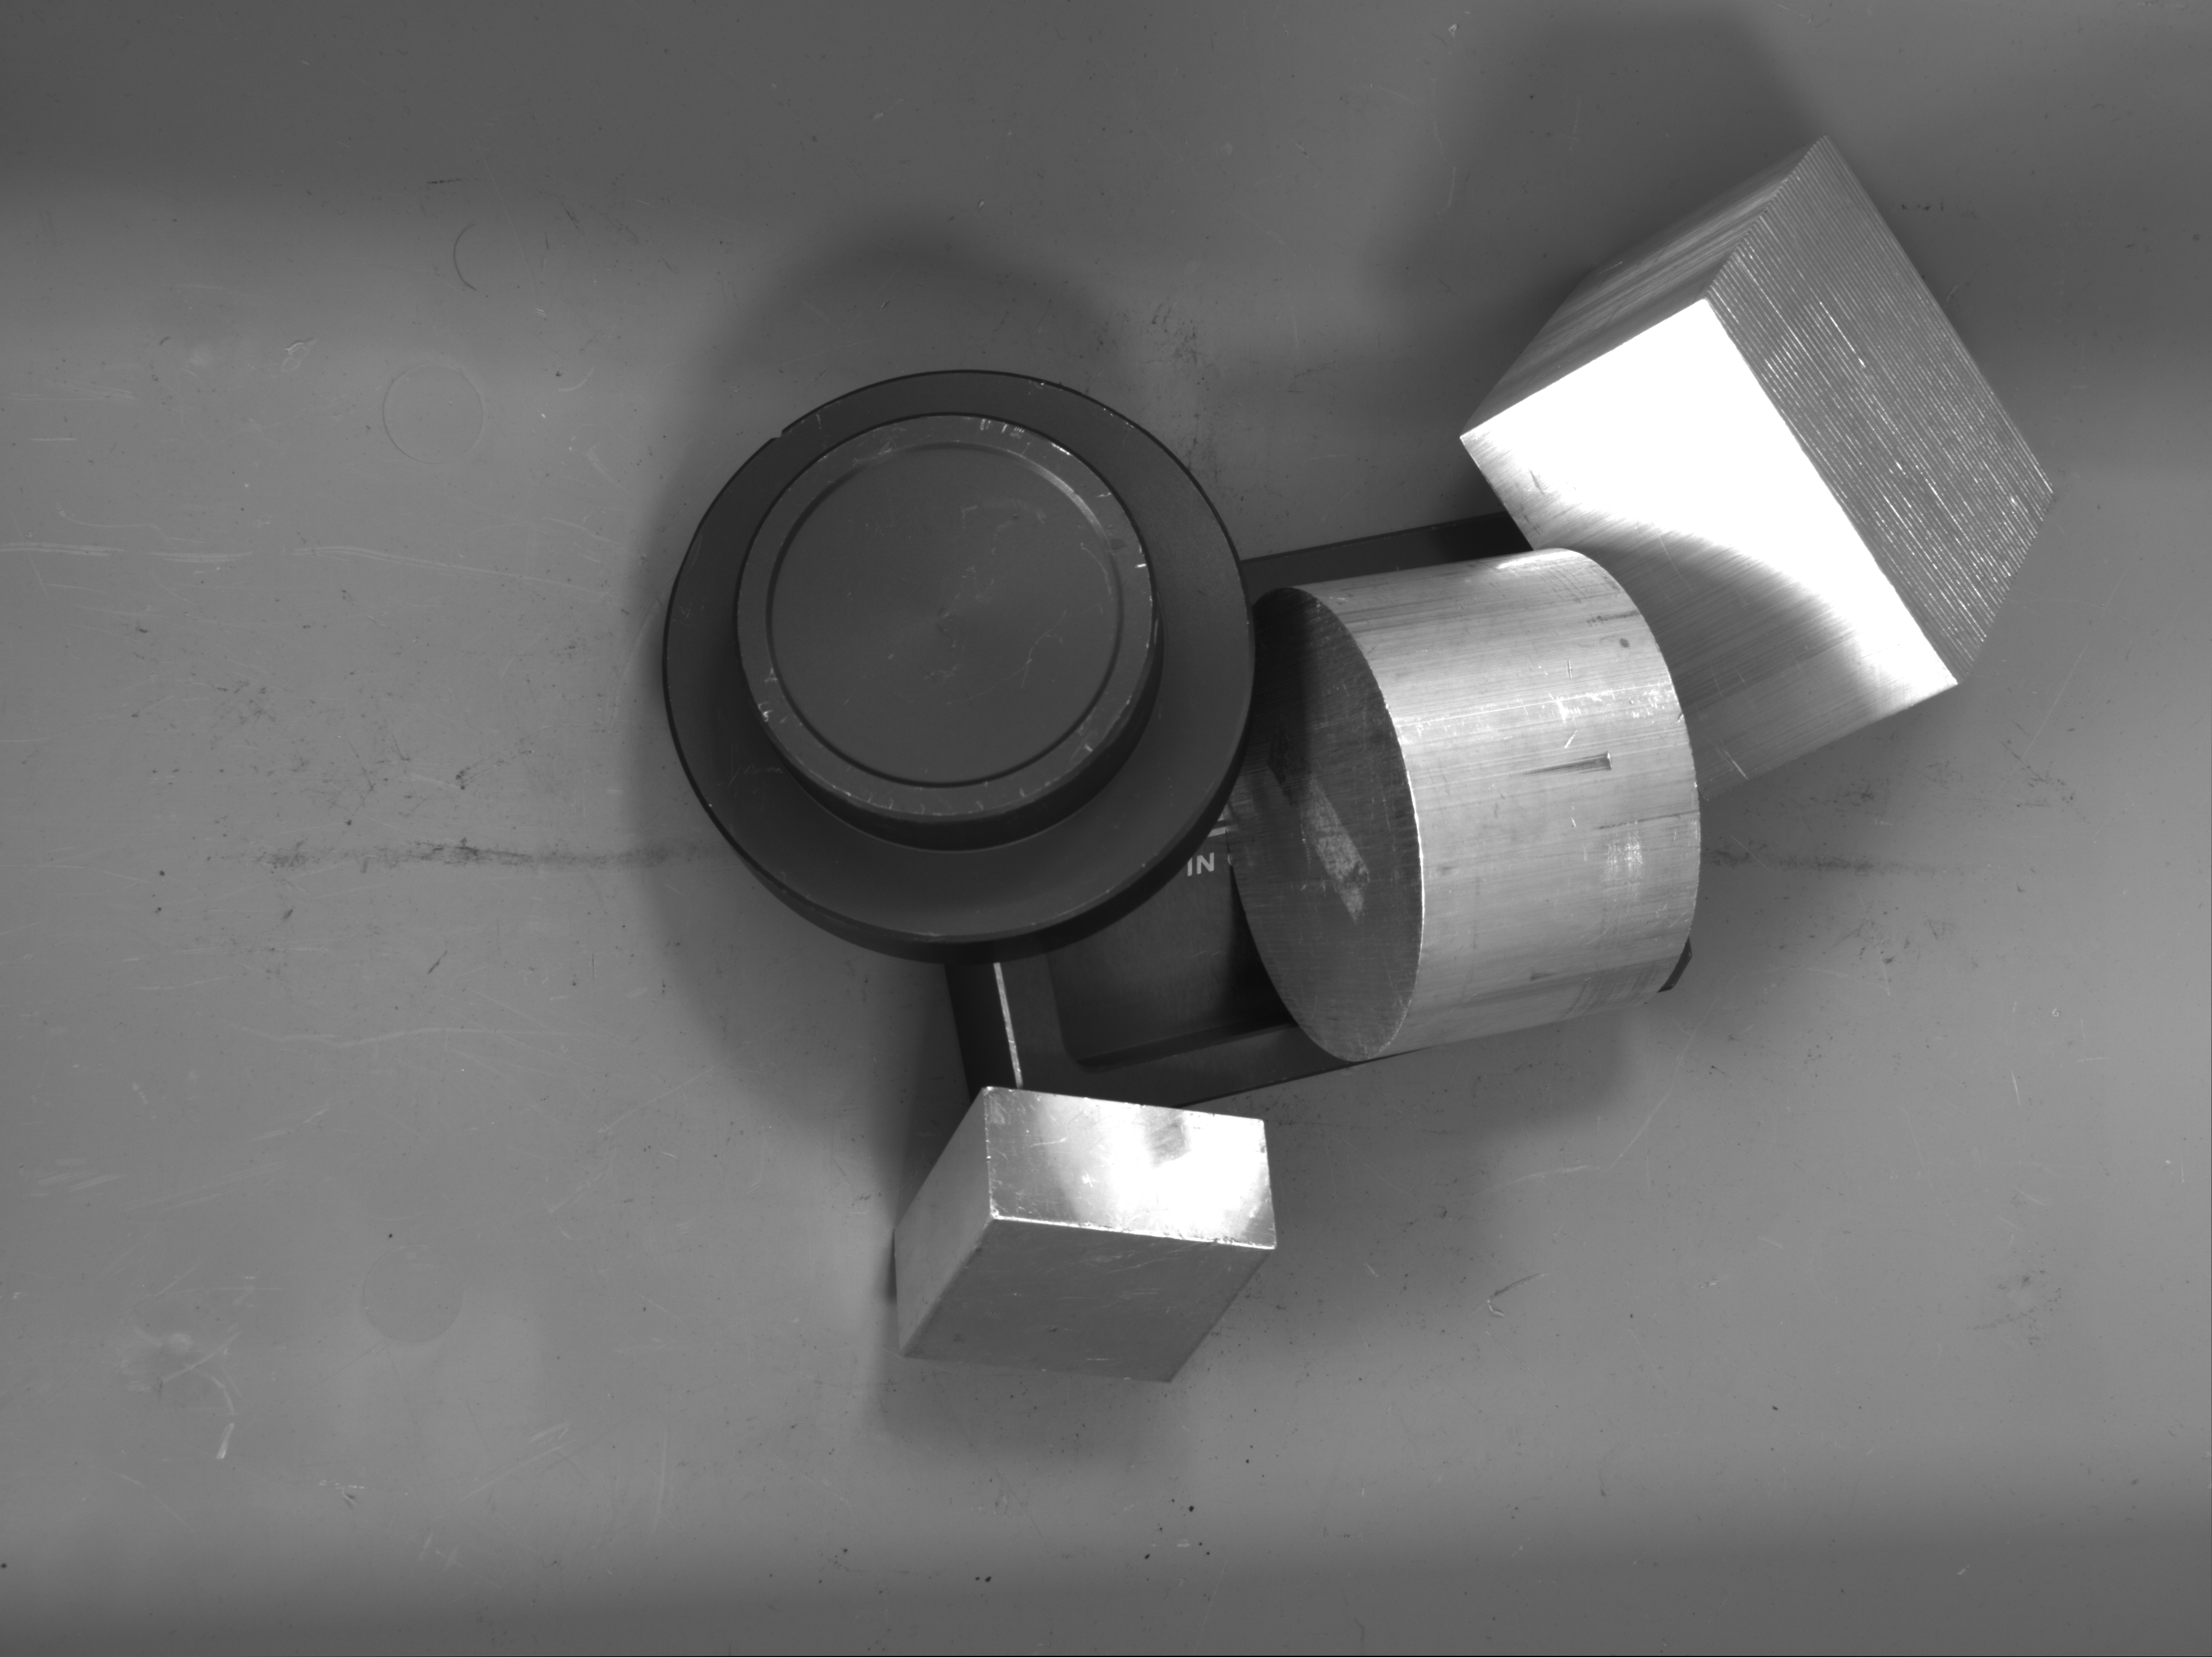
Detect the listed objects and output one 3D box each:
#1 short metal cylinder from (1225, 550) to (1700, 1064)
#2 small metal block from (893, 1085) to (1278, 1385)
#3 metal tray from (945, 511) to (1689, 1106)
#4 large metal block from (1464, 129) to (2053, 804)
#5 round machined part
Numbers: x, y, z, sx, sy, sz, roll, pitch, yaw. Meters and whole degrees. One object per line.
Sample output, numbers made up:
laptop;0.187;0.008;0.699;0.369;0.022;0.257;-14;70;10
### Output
short metal cylinder;0.058;-0.004;0.621;0.050;0.080;0.080;-9;93;-20
small metal block;-0.004;0.070;0.625;0.050;0.050;0.025;8;53;-19
metal tray;0.033;-0.003;0.653;0.130;0.030;0.090;-12;94;-19
large metal block;0.118;-0.065;0.651;0.080;0.050;0.080;54;38;-12
round machined part;-0.025;-0.029;0.604;0.098;0.042;0.098;-1;76;4
